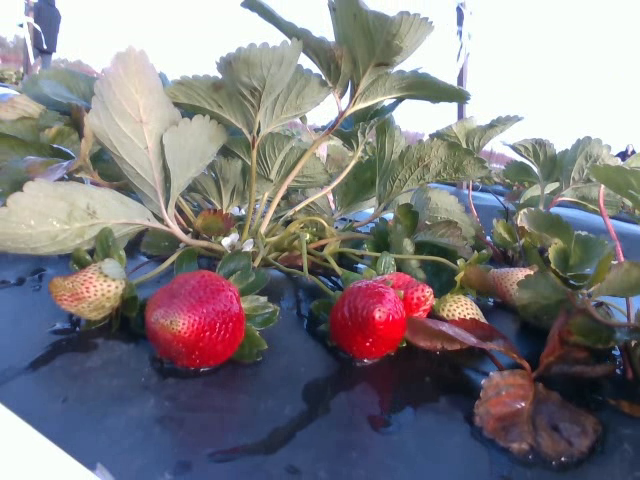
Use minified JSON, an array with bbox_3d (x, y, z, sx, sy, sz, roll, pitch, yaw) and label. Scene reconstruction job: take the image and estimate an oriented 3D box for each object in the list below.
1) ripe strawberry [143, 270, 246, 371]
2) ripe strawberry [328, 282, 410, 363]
[{"bbox_3d":[-0.060,0.033,0.270,0.050,0.050,0.065,-16,-11,7],"label":"ripe strawberry"},{"bbox_3d":[0.022,0.039,0.292,0.044,0.042,0.055,-32,-6,-11],"label":"ripe strawberry"}]
